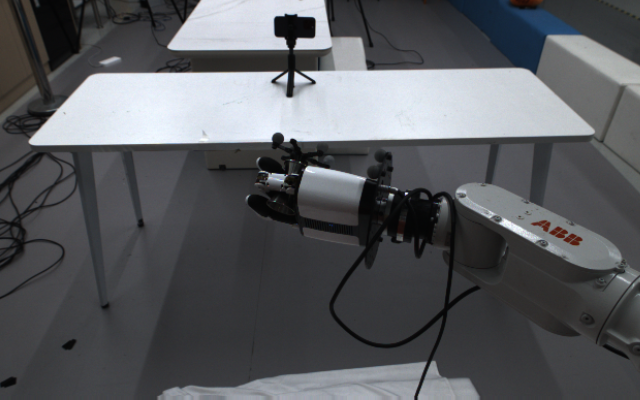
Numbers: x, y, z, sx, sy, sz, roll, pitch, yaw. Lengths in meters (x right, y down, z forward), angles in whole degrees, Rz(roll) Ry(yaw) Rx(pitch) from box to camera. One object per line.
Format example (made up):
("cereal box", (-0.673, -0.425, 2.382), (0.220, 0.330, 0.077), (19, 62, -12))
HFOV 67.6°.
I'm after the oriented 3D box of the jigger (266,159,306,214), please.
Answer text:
("jigger", (-0.041, -0.018, 0.682), (0.043, 0.043, 0.071), (13, 70, 16))
